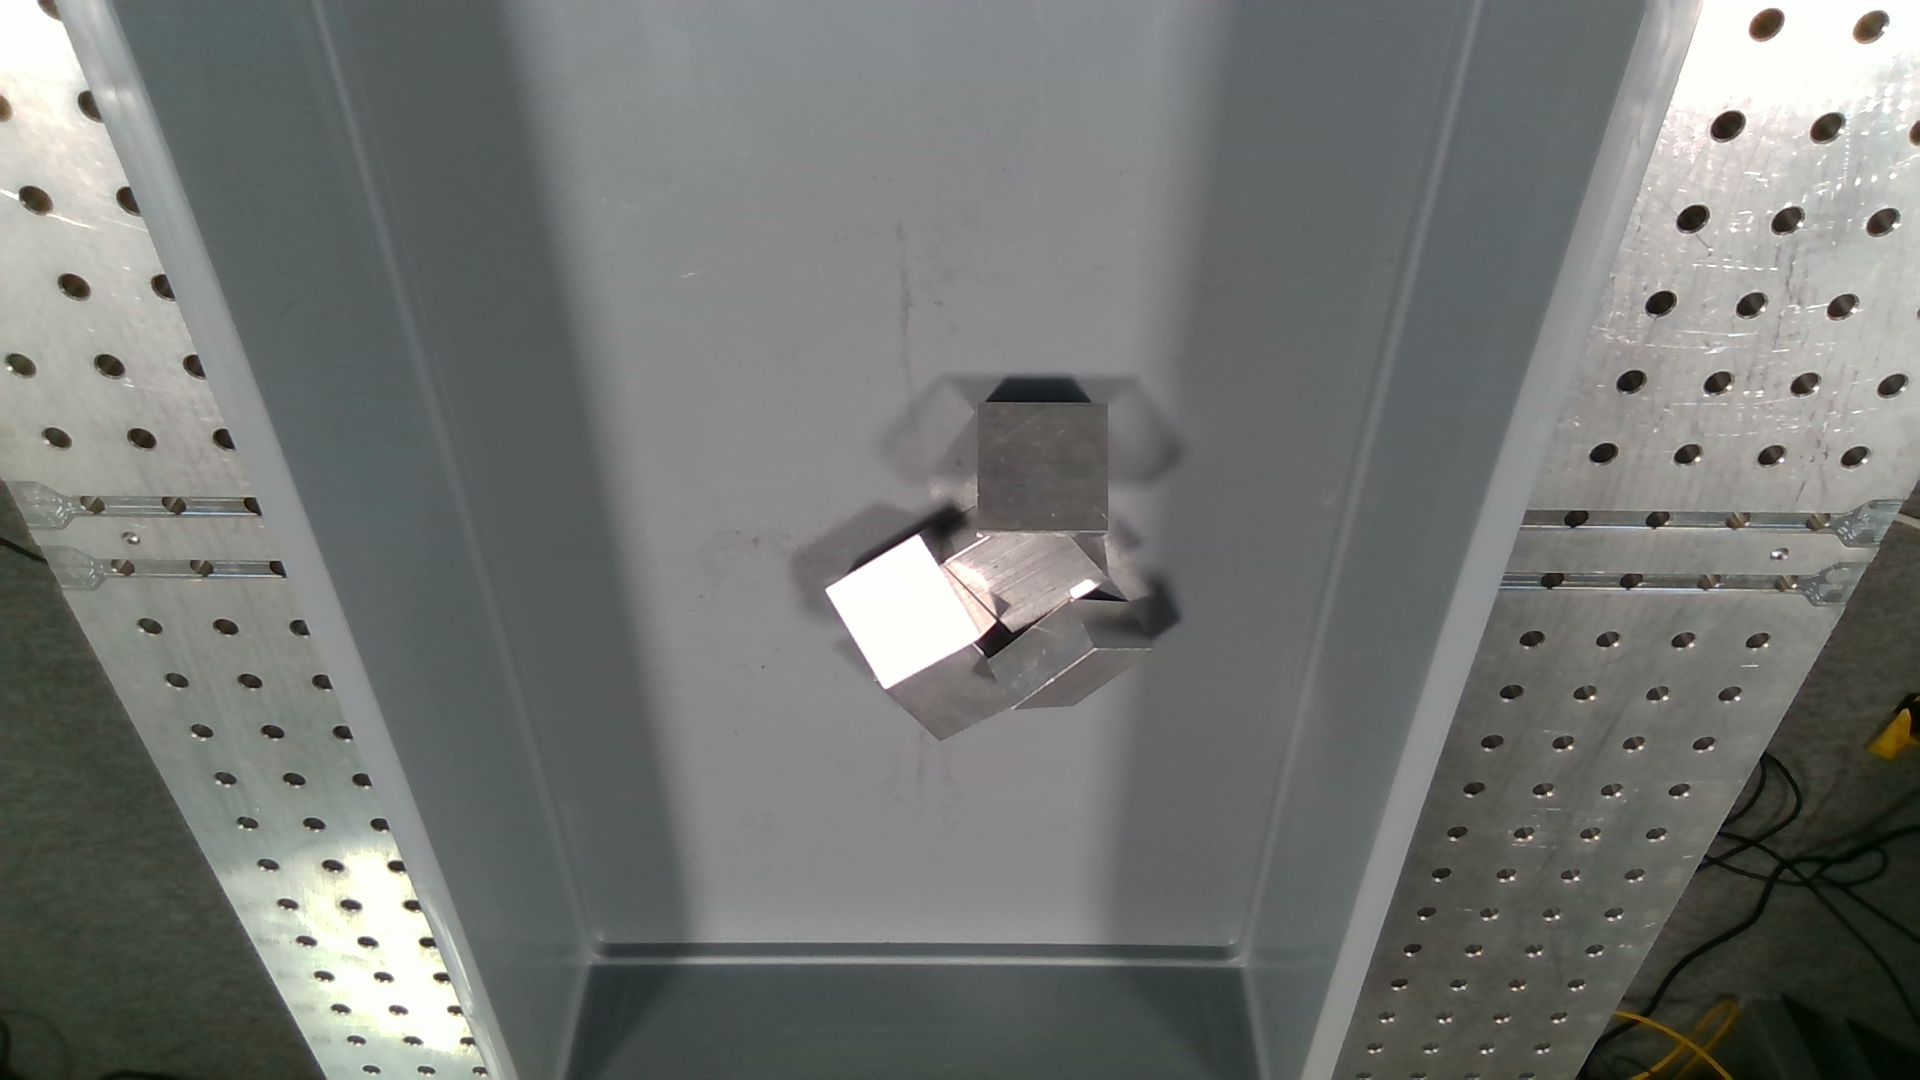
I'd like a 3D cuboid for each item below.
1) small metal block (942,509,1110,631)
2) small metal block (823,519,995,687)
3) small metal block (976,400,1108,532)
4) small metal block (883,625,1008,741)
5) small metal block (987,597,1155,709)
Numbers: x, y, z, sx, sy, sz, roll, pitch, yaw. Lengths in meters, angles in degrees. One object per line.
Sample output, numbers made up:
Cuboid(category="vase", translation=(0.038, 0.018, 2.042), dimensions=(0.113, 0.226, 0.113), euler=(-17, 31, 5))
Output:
Cuboid(category="small metal block", translation=(0.028, 0.004, 0.581), dimensions=(0.050, 0.025, 0.050), euler=(-31, 124, 23))
Cuboid(category="small metal block", translation=(-0.021, 0.027, 0.585), dimensions=(0.050, 0.025, 0.050), euler=(-30, 93, 22))
Cuboid(category="small metal block", translation=(0.031, -0.028, 0.537), dimensions=(0.050, 0.025, 0.050), euler=(0, 87, -1))
Cuboid(category="small metal block", translation=(-0.004, 0.058, 0.626), dimensions=(0.050, 0.025, 0.050), euler=(-29, 124, 22))
Cuboid(category="small metal block", translation=(0.049, 0.050, 0.604), dimensions=(0.050, 0.025, 0.050), euler=(-39, 155, 28))
